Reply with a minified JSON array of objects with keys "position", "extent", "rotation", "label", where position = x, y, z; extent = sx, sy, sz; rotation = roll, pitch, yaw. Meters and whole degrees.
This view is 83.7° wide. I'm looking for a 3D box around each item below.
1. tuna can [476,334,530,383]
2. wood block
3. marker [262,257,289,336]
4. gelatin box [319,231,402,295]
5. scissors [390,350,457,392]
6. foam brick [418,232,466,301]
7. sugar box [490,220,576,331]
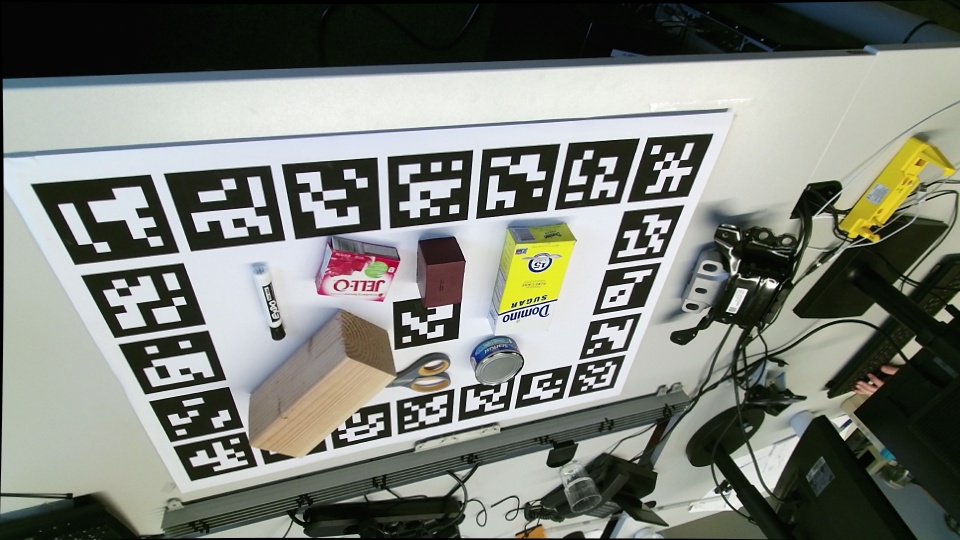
[{"position":[0.038,0.148,0.896],"extent":[0.086,0.033,0.086],"rotation":[-12,129,-14],"label":"tuna can"},{"position":[-0.227,0.158,0.762],"extent":[0.206,0.090,0.090],"rotation":[-43,131,14],"label":"wood block"},{"position":[-0.264,0.038,0.692],"extent":[0.020,0.019,0.121],"rotation":[-7,127,-18],"label":"marker"},{"position":[-0.156,-0.007,0.697],"extent":[0.090,0.030,0.073],"rotation":[8,122,-28],"label":"gelatin box"},{"position":[-0.131,0.172,0.860],"extent":[0.203,0.016,0.088],"rotation":[-3,127,-23],"label":"scissors"},{"position":[-0.053,-0.005,0.722],"extent":[0.053,0.051,0.078],"rotation":[-7,128,-18],"label":"foam brick"},{"position":[0.075,0.011,0.800],"extent":[0.093,0.045,0.176],"rotation":[-4,128,-19],"label":"sugar box"}]
